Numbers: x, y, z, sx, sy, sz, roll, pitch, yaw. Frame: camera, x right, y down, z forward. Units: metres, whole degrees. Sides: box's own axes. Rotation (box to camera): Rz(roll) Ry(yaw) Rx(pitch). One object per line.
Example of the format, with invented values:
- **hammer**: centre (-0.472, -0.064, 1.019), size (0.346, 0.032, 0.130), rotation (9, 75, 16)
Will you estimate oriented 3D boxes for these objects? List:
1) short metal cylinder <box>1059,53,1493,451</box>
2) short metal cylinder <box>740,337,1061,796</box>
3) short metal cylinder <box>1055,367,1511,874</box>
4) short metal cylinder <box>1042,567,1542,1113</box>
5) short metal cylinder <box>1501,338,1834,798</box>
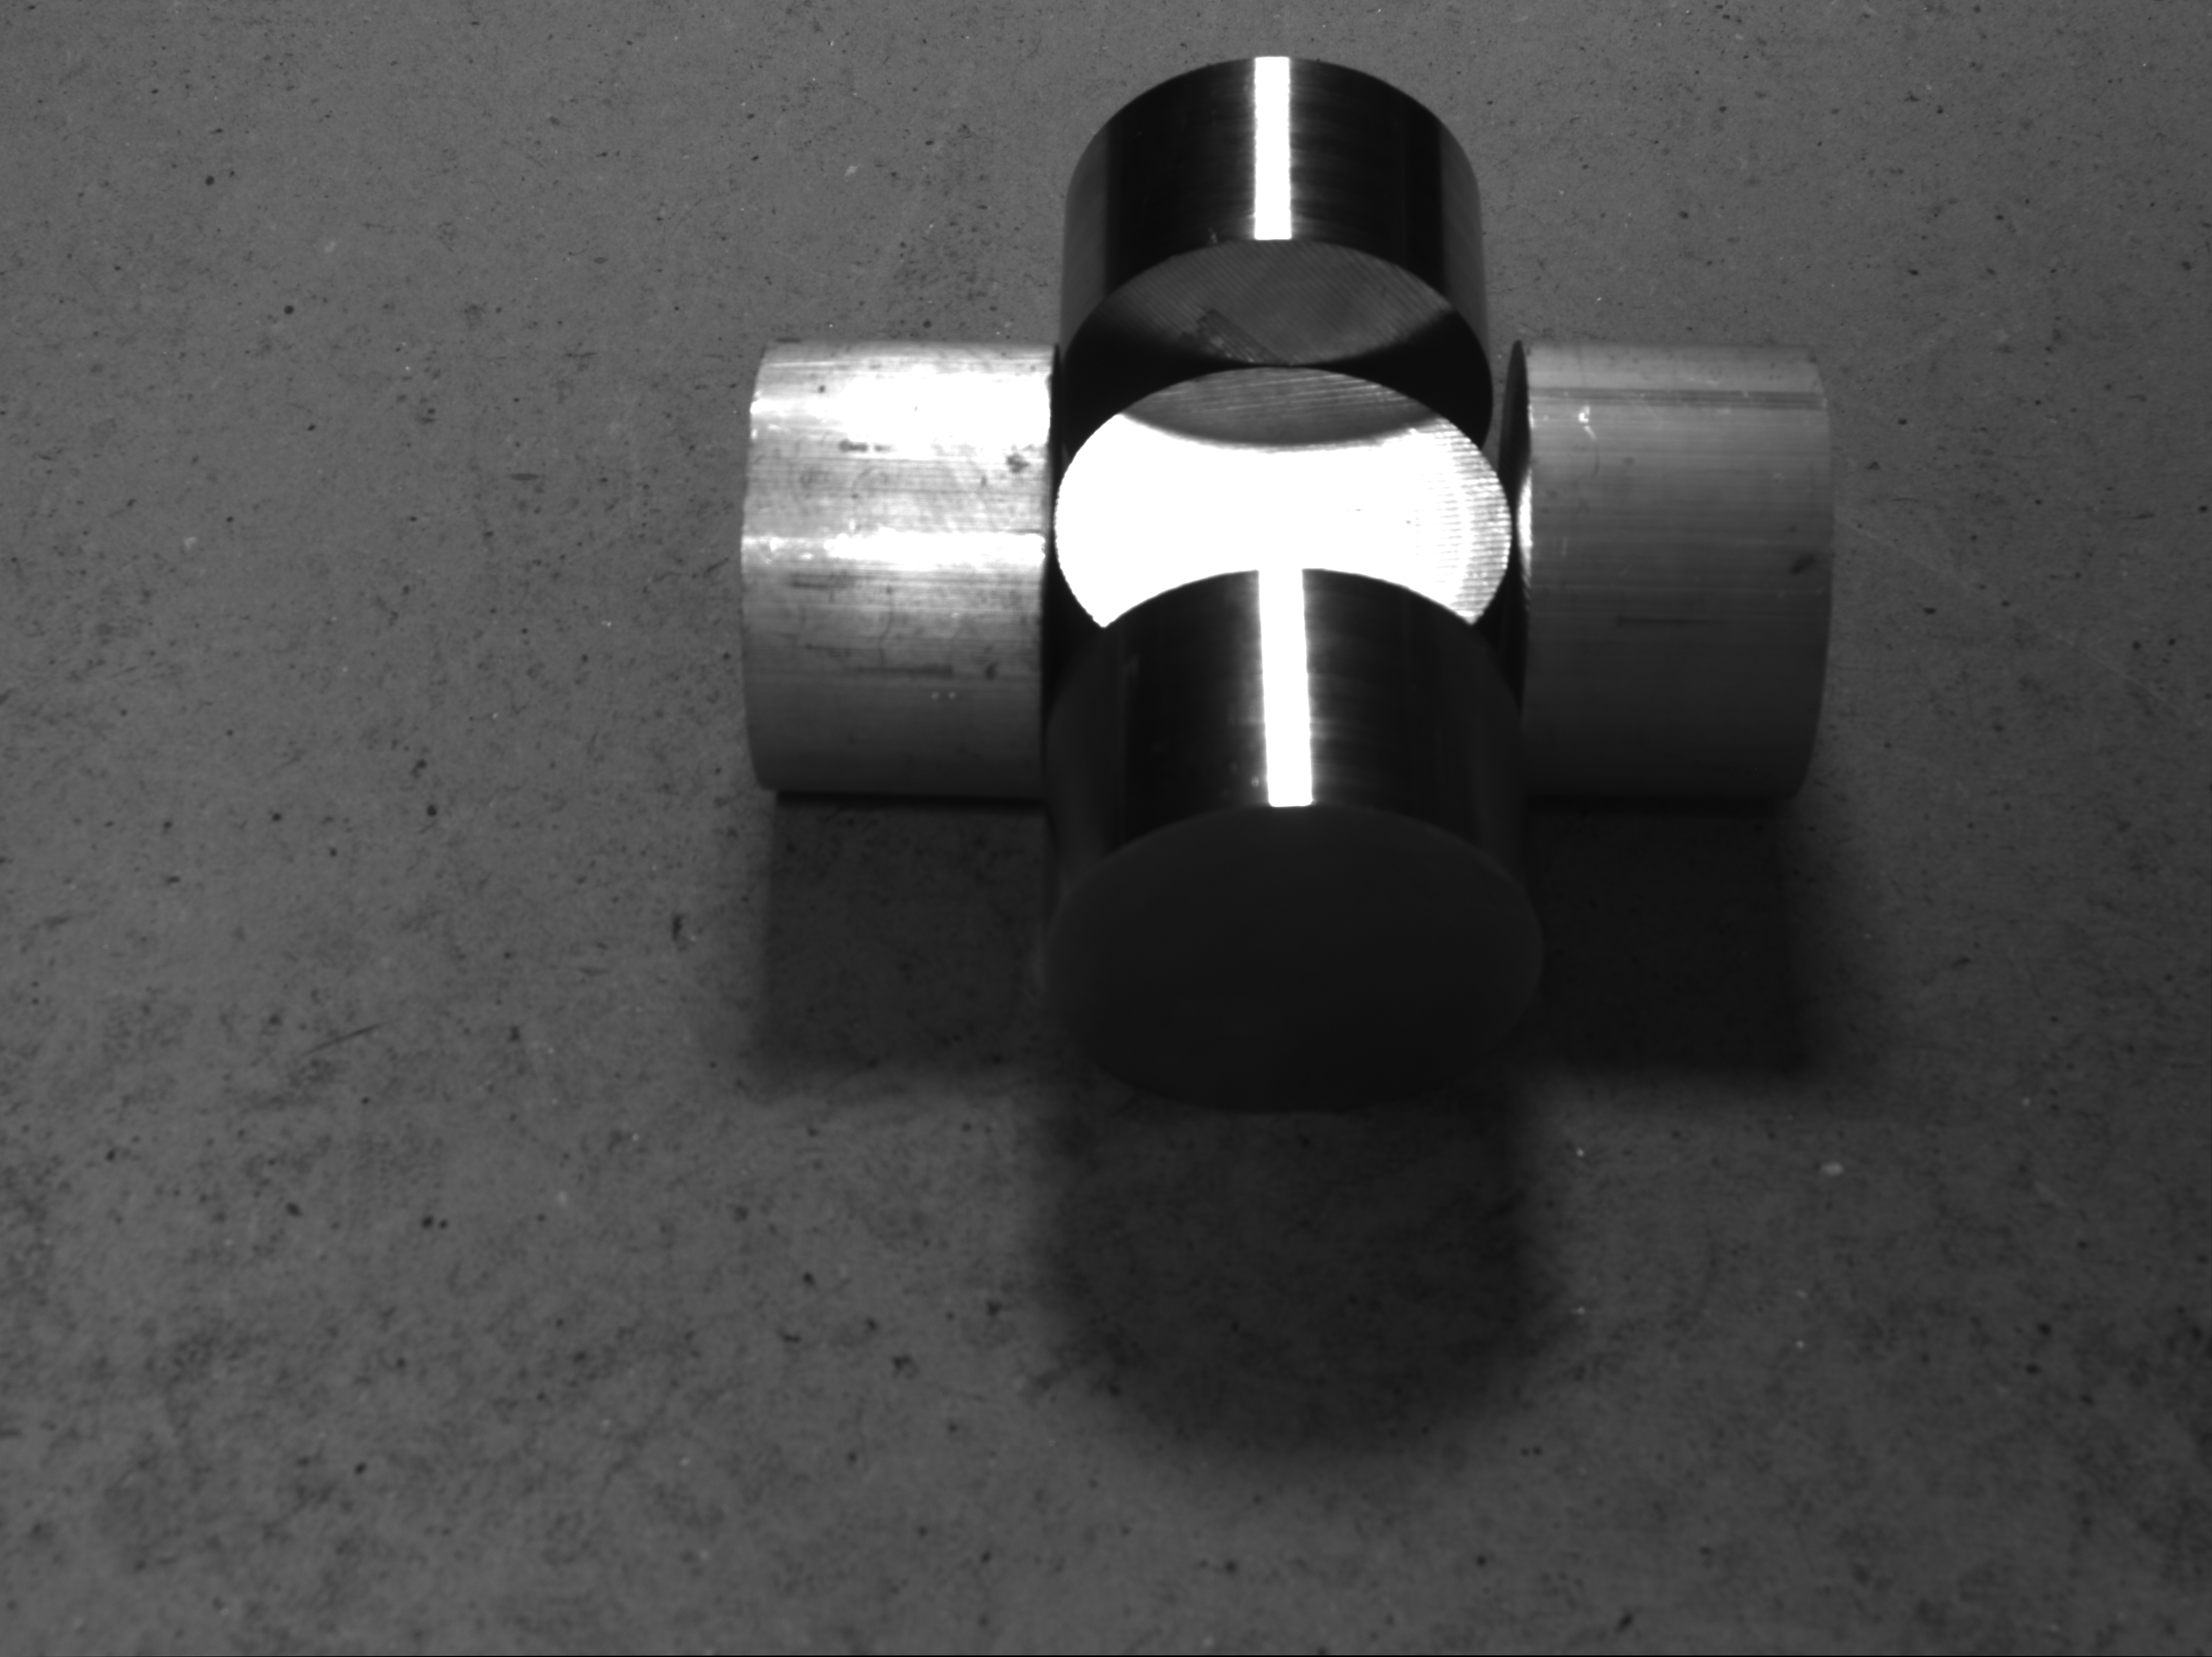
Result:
- **short metal cylinder**: centre (0.032, -0.098, 0.688), size (0.080, 0.080, 0.050), rotation (1, 50, 1)
- **short metal cylinder**: centre (-0.034, -0.046, 0.646), size (0.050, 0.080, 0.080), rotation (1, 50, 2)
- **short metal cylinder**: centre (0.031, -0.037, 0.658), size (0.080, 0.050, 0.080), rotation (0, 50, 0)
- **short metal cylinder**: centre (0.030, 0.003, 0.603), size (0.080, 0.080, 0.050), rotation (0, 49, 0)
- **short metal cylinder**: centre (0.096, -0.046, 0.645), size (0.050, 0.080, 0.080), rotation (1, 50, 2)
